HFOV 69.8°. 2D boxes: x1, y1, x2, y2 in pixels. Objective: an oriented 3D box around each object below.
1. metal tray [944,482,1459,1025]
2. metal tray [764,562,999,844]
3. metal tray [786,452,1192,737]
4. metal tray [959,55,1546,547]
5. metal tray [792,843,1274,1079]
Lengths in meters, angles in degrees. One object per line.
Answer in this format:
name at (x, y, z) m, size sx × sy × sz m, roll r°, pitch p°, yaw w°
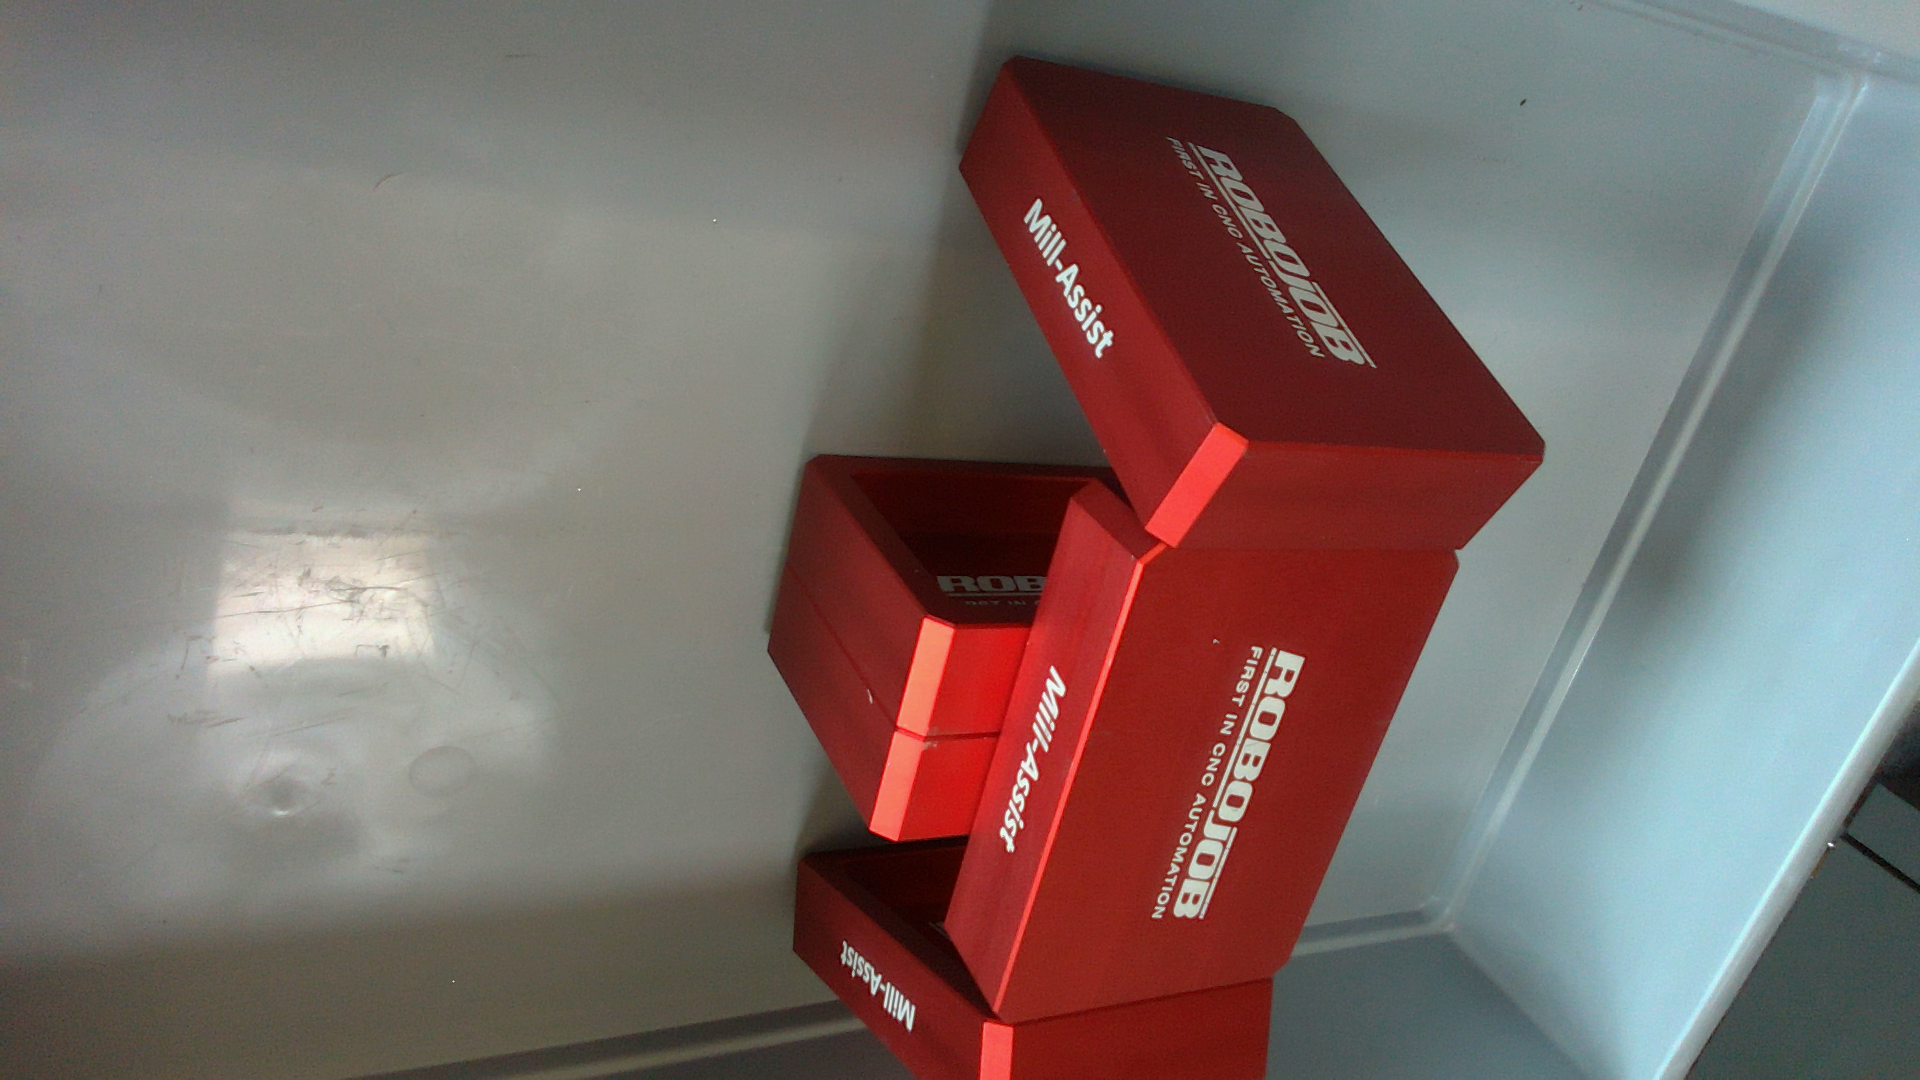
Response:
metal tray at (0.055, 0.052, 0.330) m, size 0.090 × 0.030 × 0.130 m, roll 0°, pitch 118°, yaw -29°
metal tray at (0.022, 0.039, 0.382) m, size 0.130 × 0.090 × 0.030 m, roll 1°, pitch 118°, yaw -29°
metal tray at (0.030, 0.011, 0.369) m, size 0.130 × 0.090 × 0.030 m, roll 1°, pitch 118°, yaw -29°
metal tray at (0.063, -0.057, 0.319) m, size 0.090 × 0.130 × 0.030 m, roll 1°, pitch 139°, yaw -29°
metal tray at (0.016, 0.123, 0.403) m, size 0.090 × 0.130 × 0.030 m, roll 0°, pitch 97°, yaw -29°
